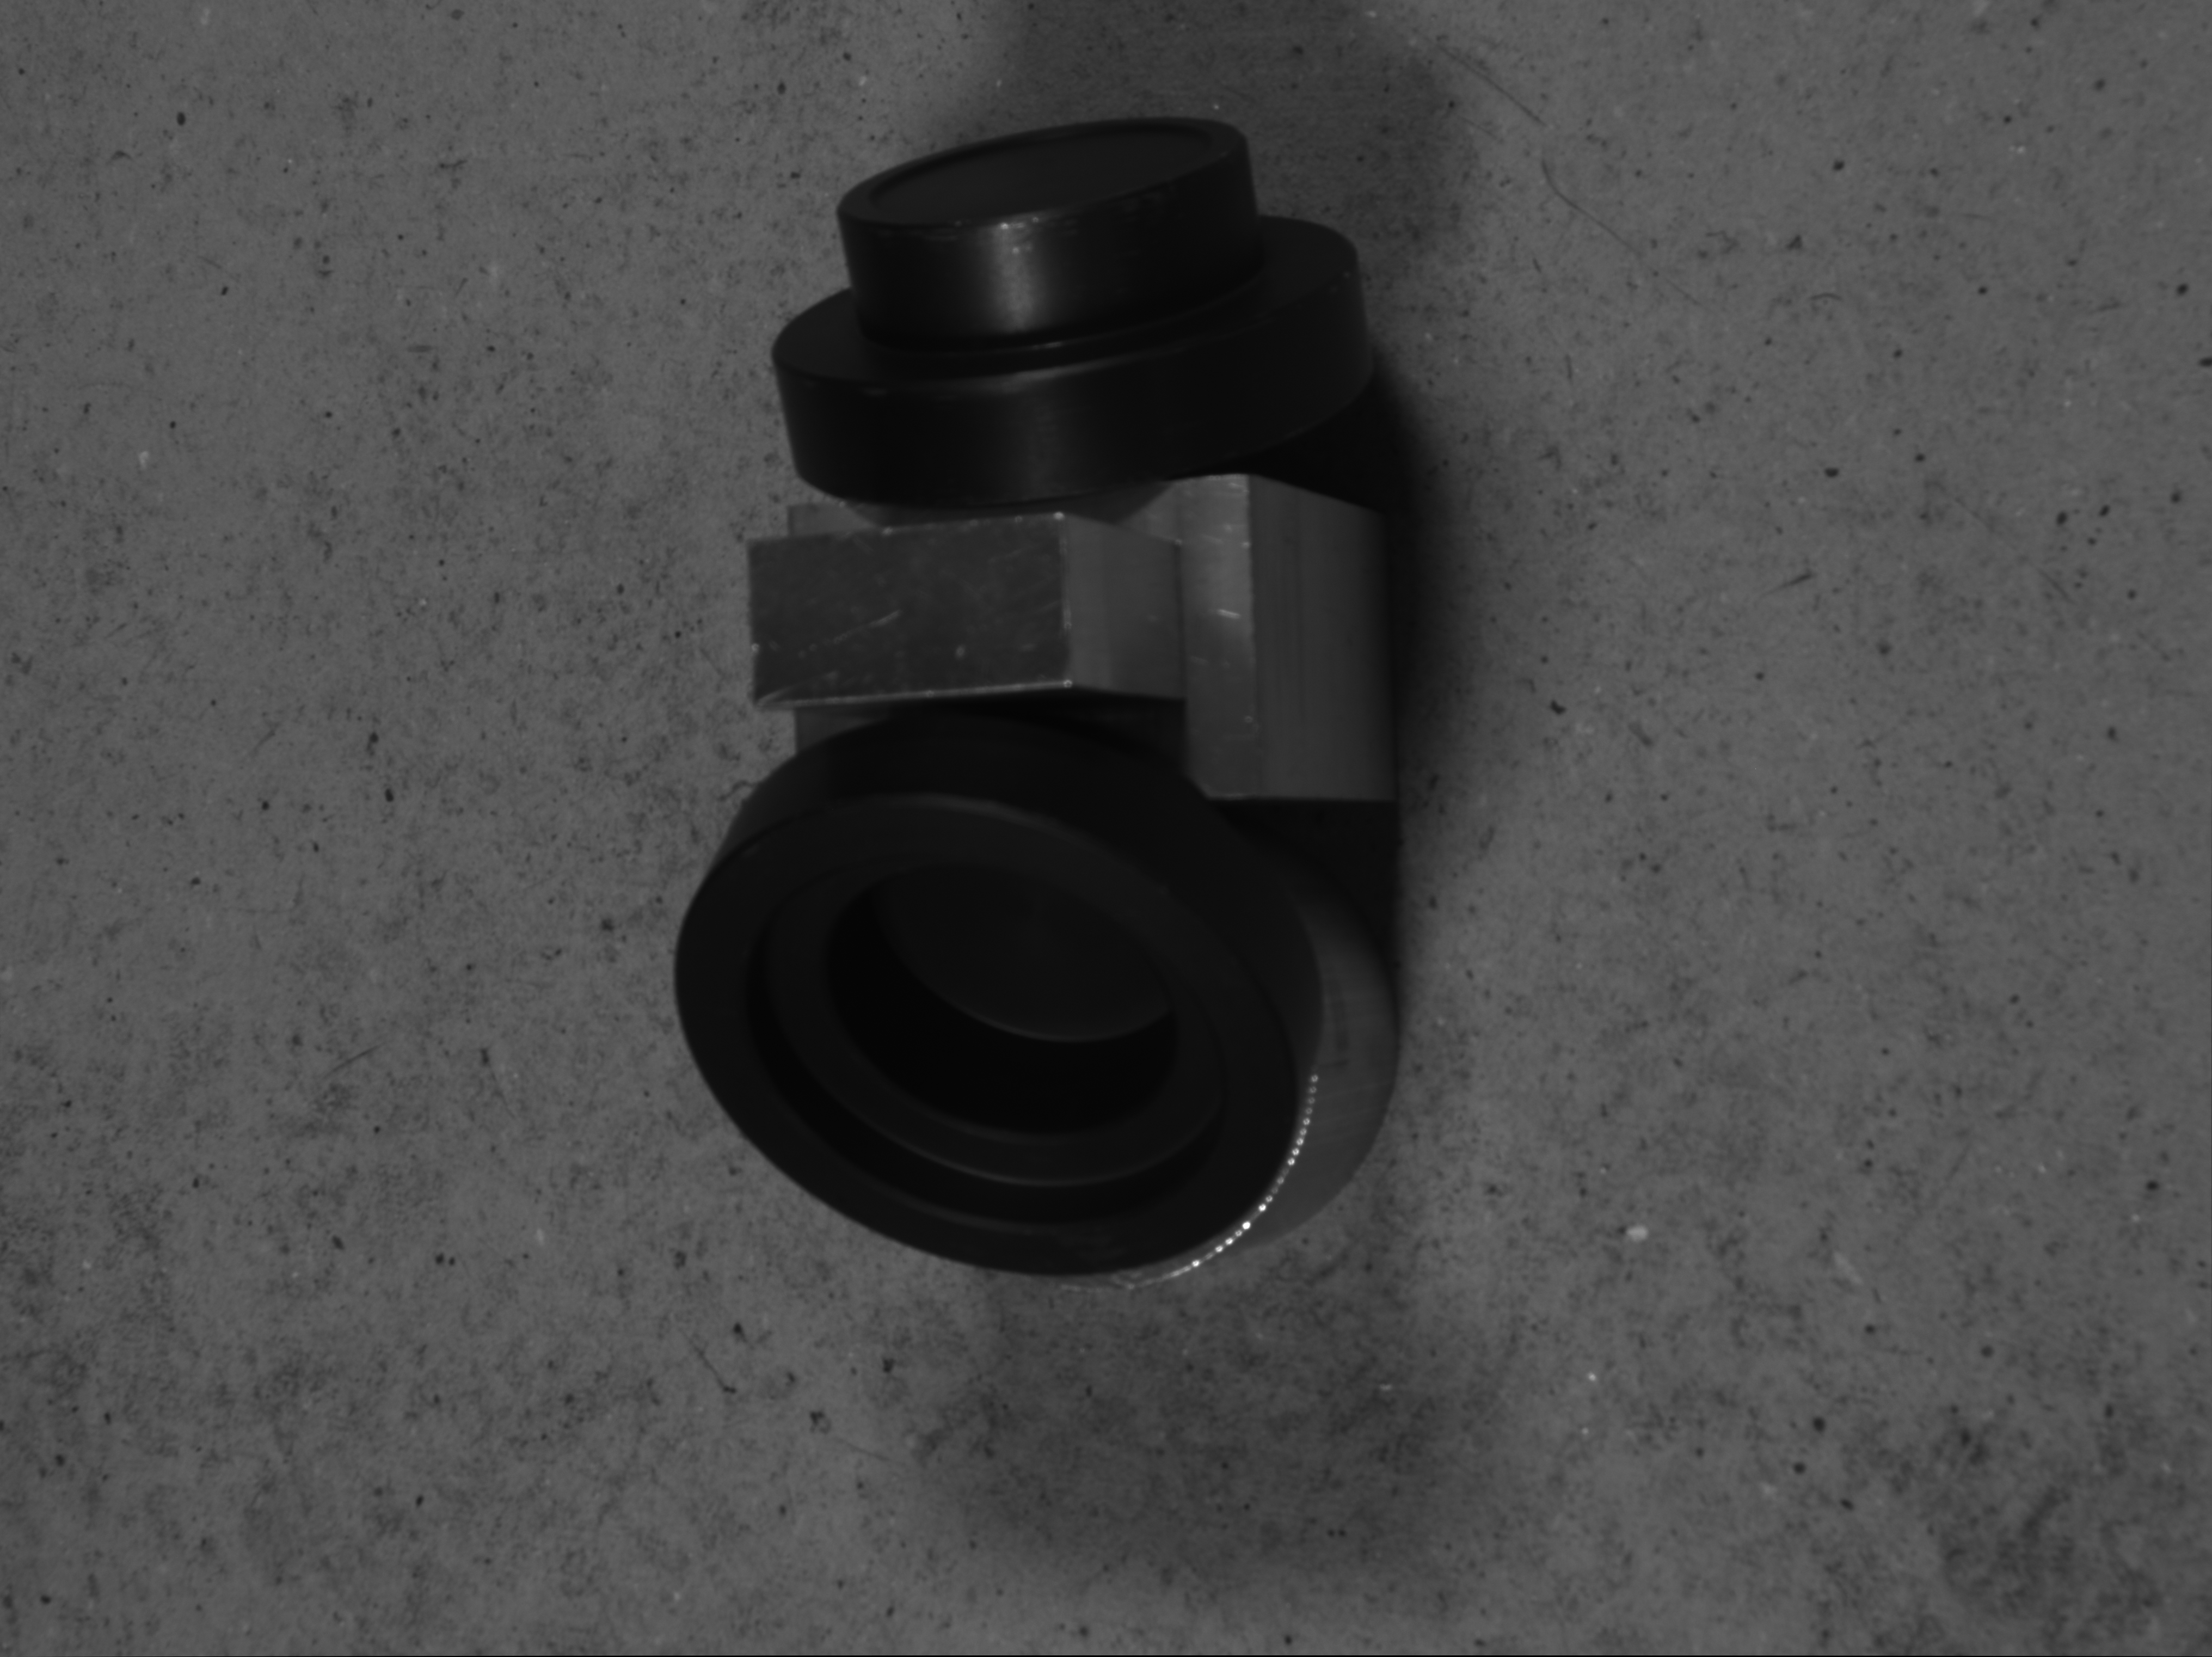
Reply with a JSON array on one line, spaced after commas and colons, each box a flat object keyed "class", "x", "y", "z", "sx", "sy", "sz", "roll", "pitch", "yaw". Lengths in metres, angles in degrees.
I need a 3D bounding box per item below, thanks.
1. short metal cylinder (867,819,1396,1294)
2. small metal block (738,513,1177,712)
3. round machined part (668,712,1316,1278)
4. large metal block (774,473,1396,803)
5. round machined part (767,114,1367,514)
[{"class": "short metal cylinder", "x": 0.005, "y": 0.037, "z": 0.630, "sx": 0.080, "sy": 0.050, "sz": 0.080, "roll": 0, "pitch": 90, "yaw": 20}, {"class": "small metal block", "x": -0.021, "y": -0.031, "z": 0.553, "sx": 0.050, "sy": 0.050, "sz": 0.025, "roll": -3, "pitch": 88, "yaw": 20}, {"class": "round machined part", "x": -0.015, "y": 0.021, "z": 0.570, "sx": 0.098, "sy": 0.042, "sz": 0.098, "roll": 9, "pitch": 131, "yaw": 11}, {"class": "large metal block", "x": -0.001, "y": -0.028, "z": 0.615, "sx": 0.080, "sy": 0.080, "sz": 0.050, "roll": -2, "pitch": 89, "yaw": 20}, {"class": "round machined part", "x": -0.008, "y": -0.089, "z": 0.605, "sx": 0.098, "sy": 0.098, "sz": 0.042, "roll": -2, "pitch": 114, "yaw": 20}]
